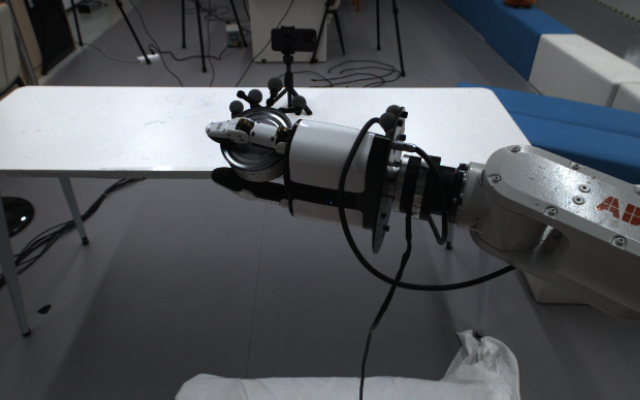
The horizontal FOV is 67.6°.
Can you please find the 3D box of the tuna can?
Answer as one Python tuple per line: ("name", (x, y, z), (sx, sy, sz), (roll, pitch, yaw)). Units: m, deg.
("tuna can", (-0.069, -0.064, 0.562), (0.085, 0.034, 0.085), (-6, 61, 10))
